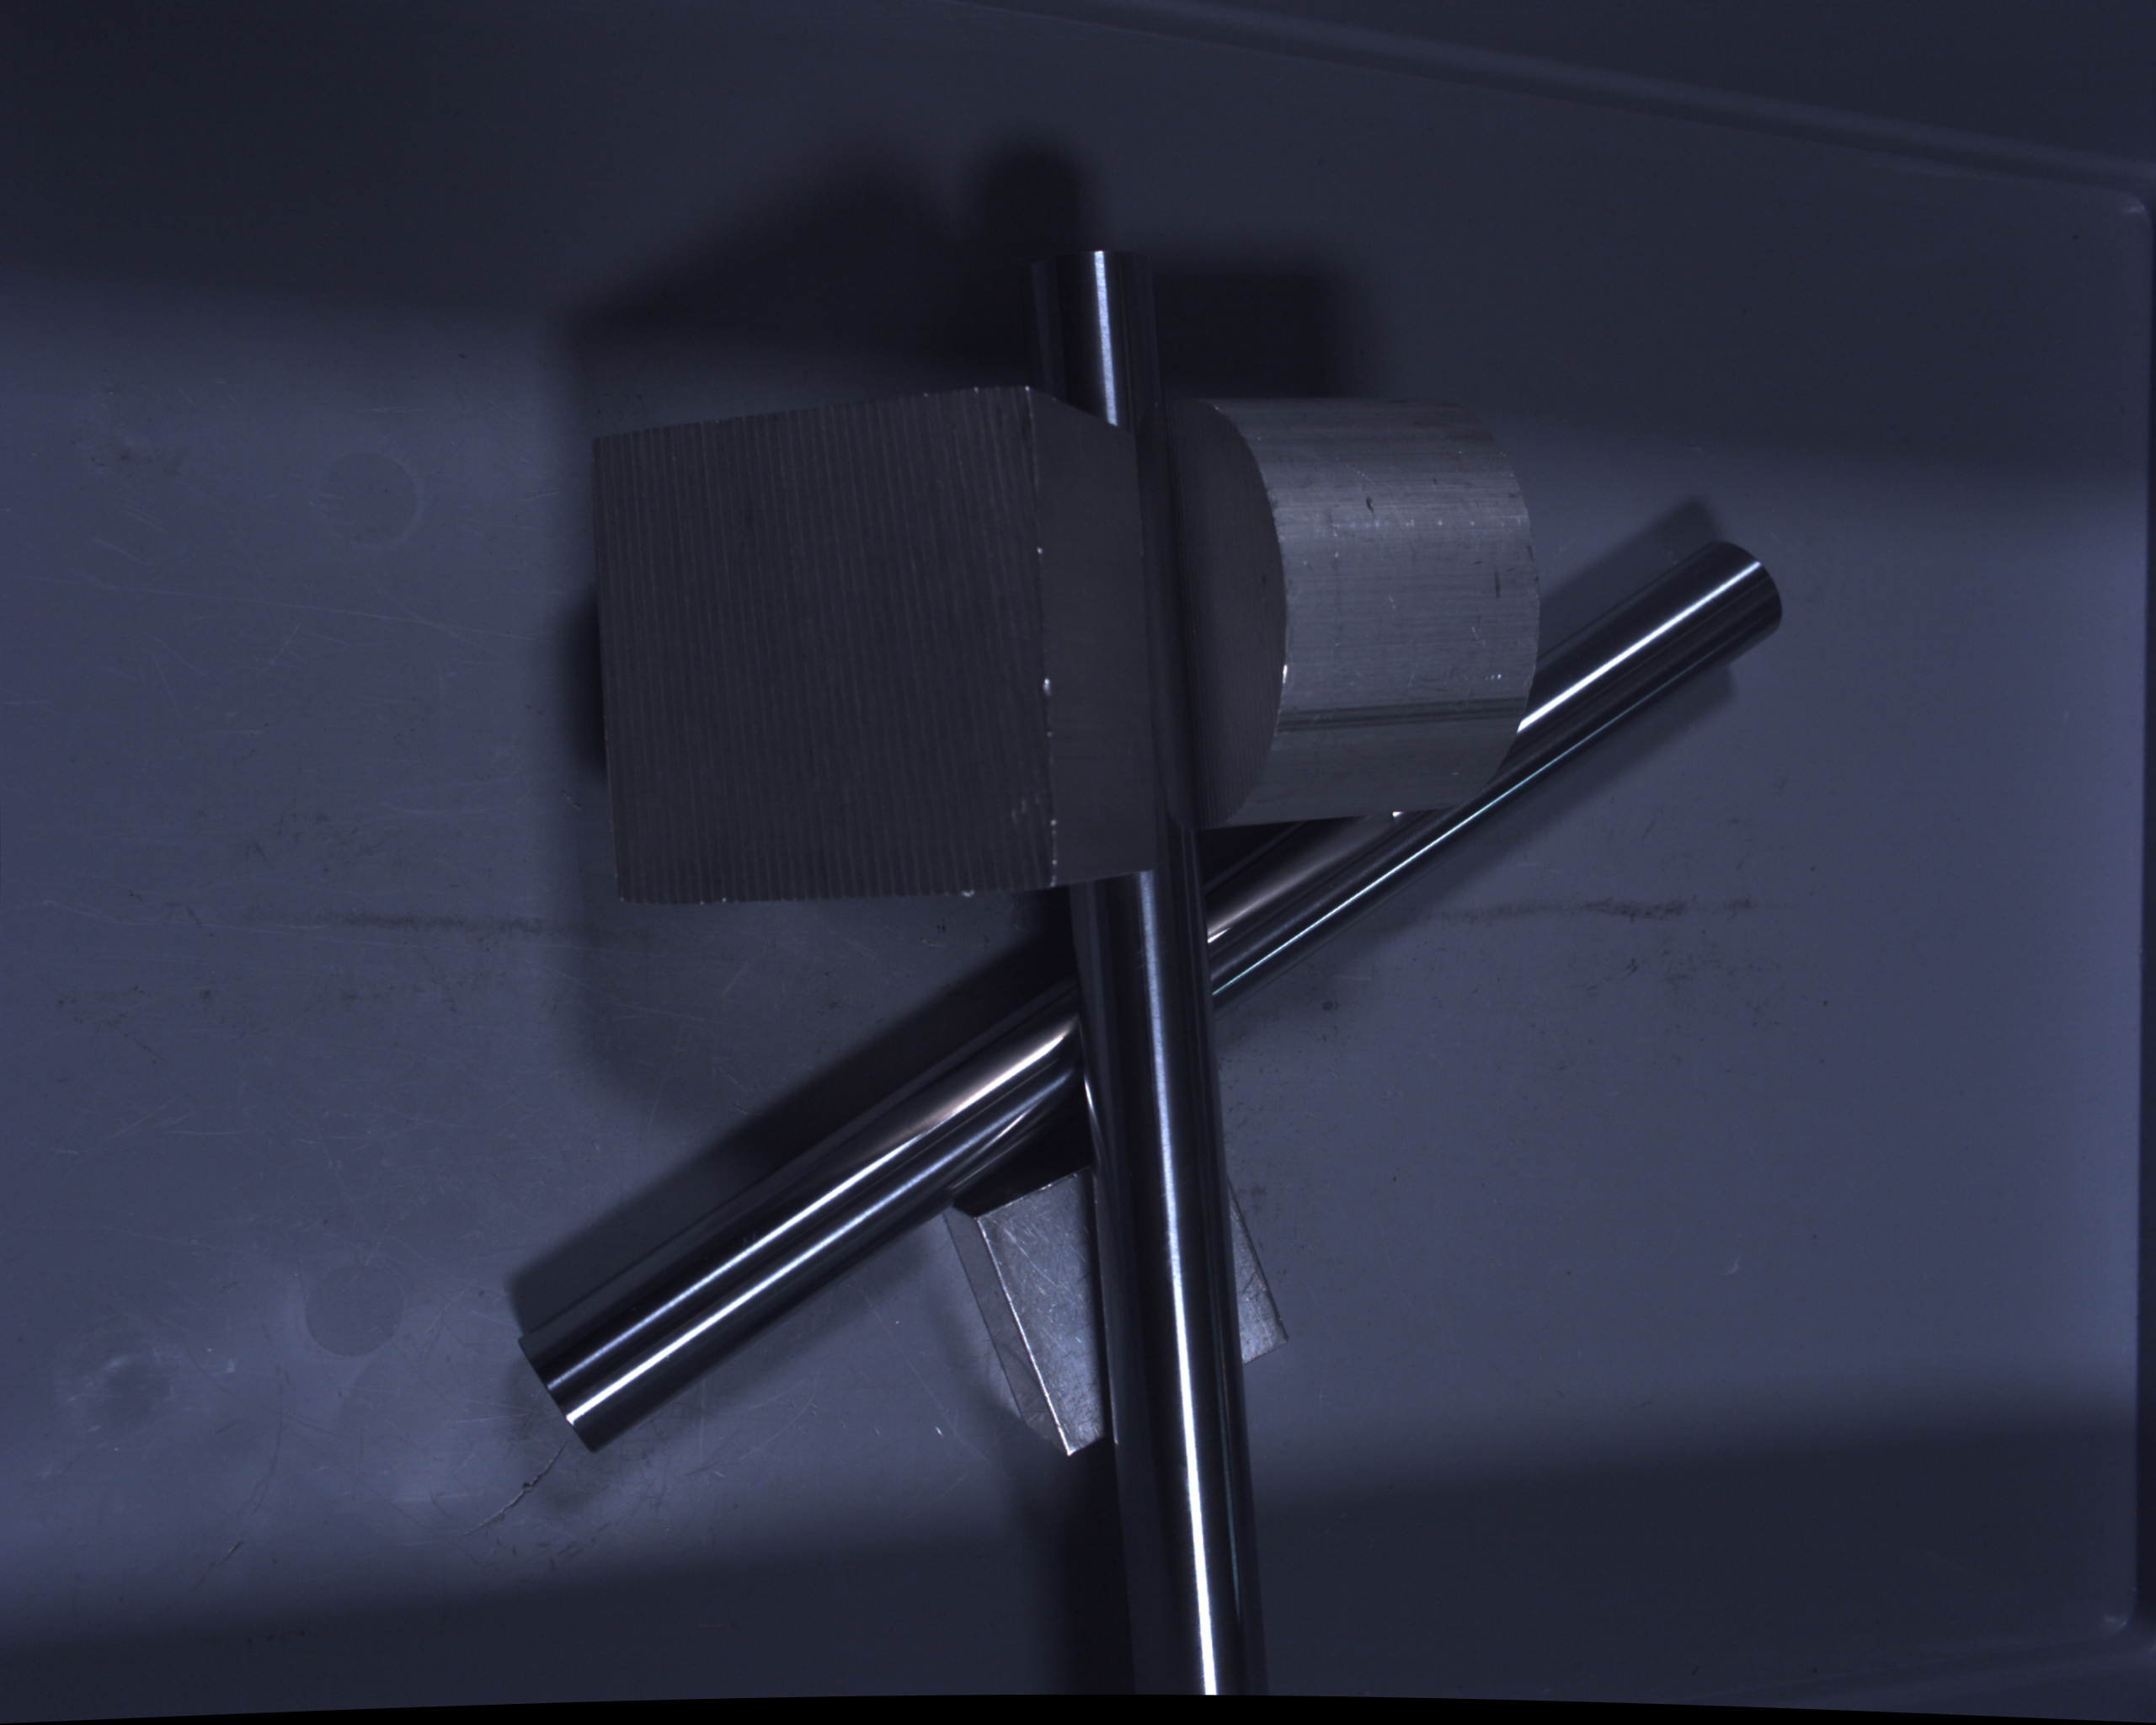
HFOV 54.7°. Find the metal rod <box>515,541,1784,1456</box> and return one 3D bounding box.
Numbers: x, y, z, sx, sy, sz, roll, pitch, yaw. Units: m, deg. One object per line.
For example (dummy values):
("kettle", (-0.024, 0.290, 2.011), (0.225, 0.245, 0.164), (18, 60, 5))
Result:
("metal rod", (0.027, 0.018, 0.419), (0.302, 0.025, 0.025), (-33, 101, -17))

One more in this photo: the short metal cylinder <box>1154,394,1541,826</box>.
("short metal cylinder", (0.044, -0.048, 0.396), (0.050, 0.080, 0.079), (-5, 92, -22))

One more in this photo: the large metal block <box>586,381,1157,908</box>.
("large metal block", (-0.035, -0.035, 0.363), (0.080, 0.050, 0.079), (-3, 91, 20))

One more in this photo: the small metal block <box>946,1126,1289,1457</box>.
("small metal block", (0.007, 0.081, 0.413), (0.050, 0.025, 0.050), (-23, 98, -19))

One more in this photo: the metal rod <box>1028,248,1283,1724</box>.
("metal rod", (0.016, 0.038, 0.388), (0.025, 0.025, 0.298), (-5, 91, -20))
